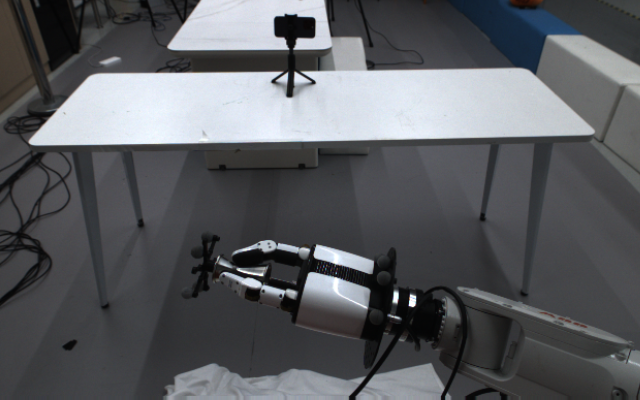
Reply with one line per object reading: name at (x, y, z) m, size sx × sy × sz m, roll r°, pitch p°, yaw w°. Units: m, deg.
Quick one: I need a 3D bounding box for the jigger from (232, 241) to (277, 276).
jigger at (-0.096, 0.095, 0.638) m, size 0.071 × 0.043 × 0.043 m, roll 12°, pitch 36°, yaw 5°
